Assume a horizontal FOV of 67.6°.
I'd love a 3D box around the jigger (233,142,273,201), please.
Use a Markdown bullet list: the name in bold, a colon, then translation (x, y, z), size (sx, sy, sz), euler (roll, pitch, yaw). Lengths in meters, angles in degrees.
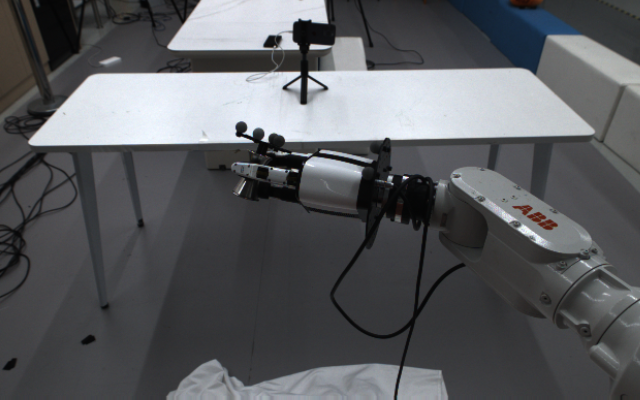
- **jigger**: translation (-0.102, -0.038, 0.718), size (0.043, 0.071, 0.043), euler (22, 6, -2)
